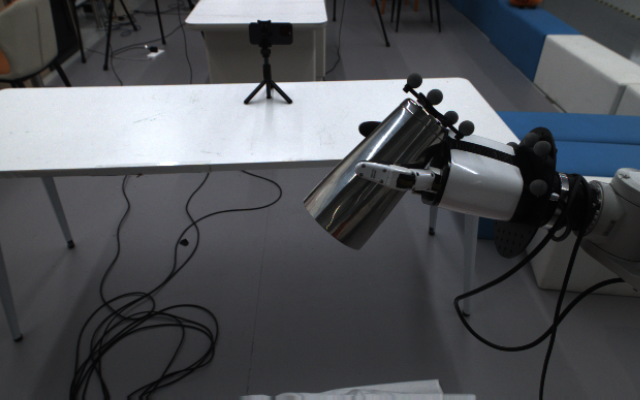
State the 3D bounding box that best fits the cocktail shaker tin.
[{"bbox_3d":[0.071,-0.038,0.574,0.093,0.170,0.093,41,12,-11],"label":"cocktail shaker tin"}]
